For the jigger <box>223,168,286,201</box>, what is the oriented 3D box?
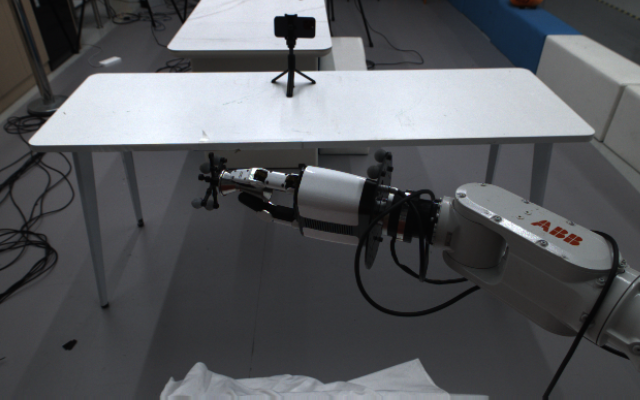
[{"bbox_3d":[-0.100,-0.025,0.695,0.071,0.043,0.043,6,35,13],"label":"jigger"}]
